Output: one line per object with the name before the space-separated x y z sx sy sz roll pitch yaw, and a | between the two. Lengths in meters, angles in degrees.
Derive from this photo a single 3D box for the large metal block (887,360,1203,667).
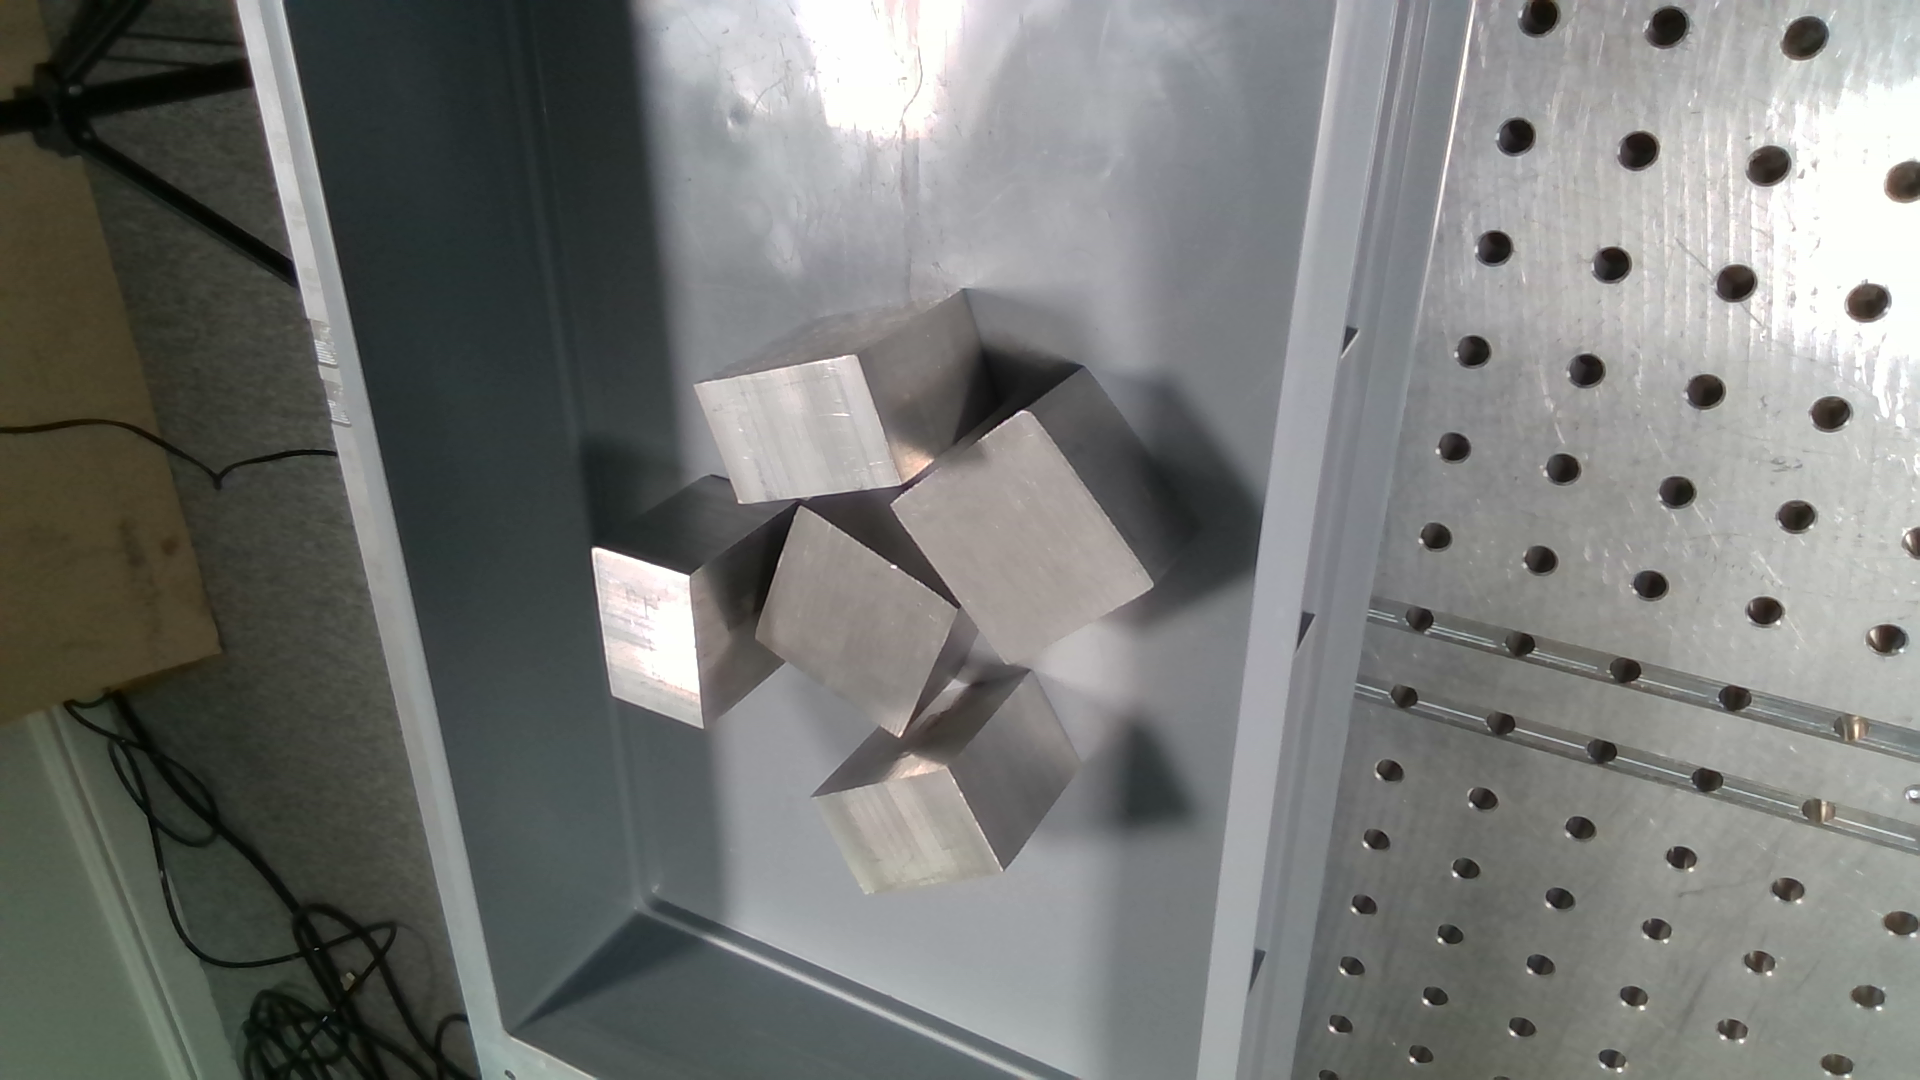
large metal block | 0.033 -0.009 0.537 0.080 0.050 0.080 -33 95 39

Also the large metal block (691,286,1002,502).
large metal block | -0.043 -0.057 0.538 0.080 0.080 0.050 -5 112 33

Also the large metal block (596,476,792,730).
large metal block | -0.115 0.026 0.629 0.050 0.080 0.080 15 122 24

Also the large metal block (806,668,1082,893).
large metal block | -0.006 0.105 0.604 0.080 0.080 0.050 -19 104 37

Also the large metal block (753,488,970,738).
large metal block | -0.034 0.024 0.597 0.080 0.050 0.080 34 128 12
